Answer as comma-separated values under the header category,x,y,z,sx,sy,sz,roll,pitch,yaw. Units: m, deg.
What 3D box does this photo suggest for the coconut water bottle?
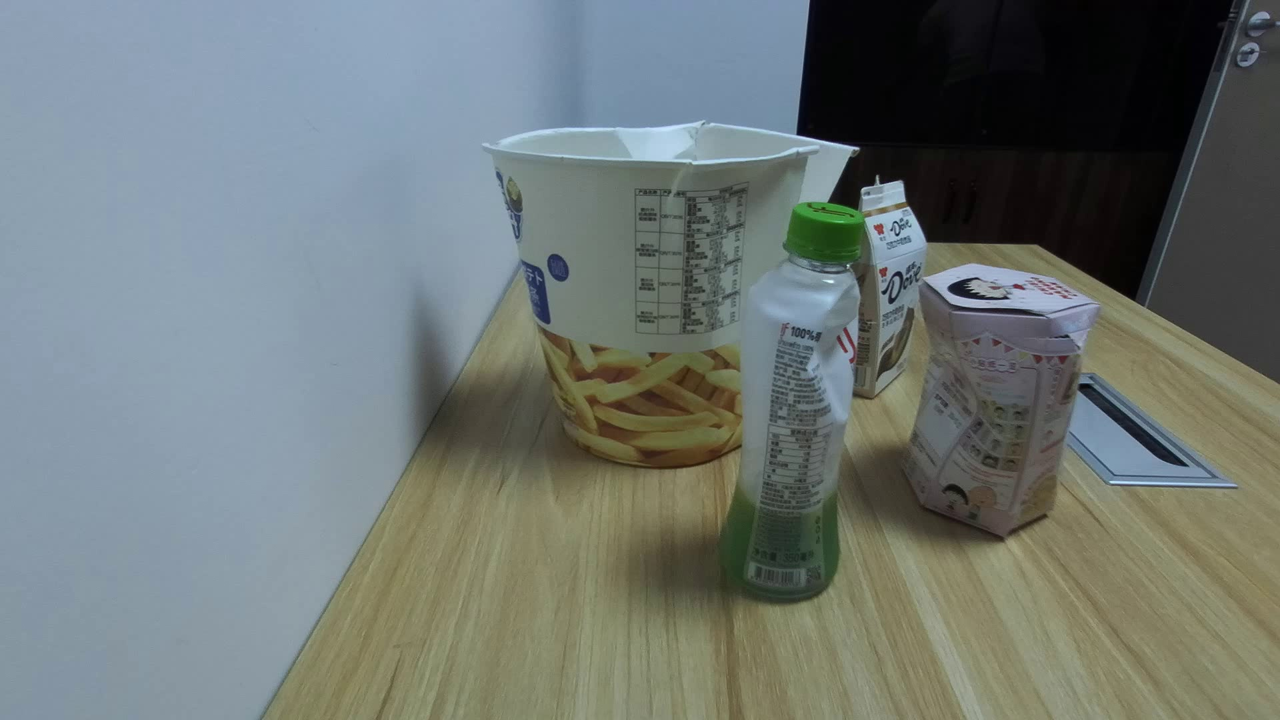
category,x,y,z,sx,sy,sz,roll,pitch,yaw
coconut water bottle,0.076,0.023,0.340,0.069,0.187,0.069,2,21,-1

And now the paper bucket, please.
category,x,y,z,sx,sy,sz,roll,pitch,yaw
paper bucket,0.020,-0.049,0.473,0.203,0.197,0.145,-18,32,-33

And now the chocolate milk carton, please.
category,x,y,z,sx,sy,sz,roll,pitch,yaw
chocolate milk carton,0.173,-0.060,0.553,0.072,0.155,0.084,18,30,34

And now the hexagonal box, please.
category,x,y,z,sx,sy,sz,roll,pitch,yaw
hexagonal box,0.200,0.022,0.409,0.089,0.134,0.091,18,30,37
